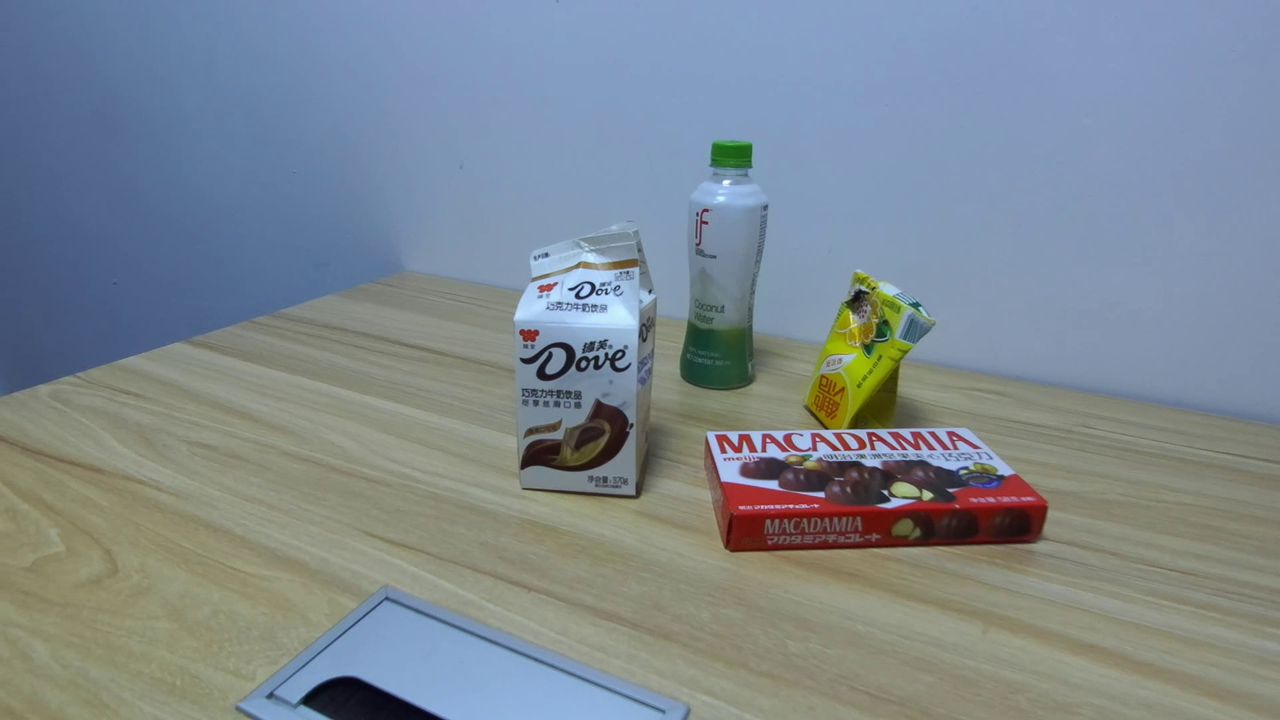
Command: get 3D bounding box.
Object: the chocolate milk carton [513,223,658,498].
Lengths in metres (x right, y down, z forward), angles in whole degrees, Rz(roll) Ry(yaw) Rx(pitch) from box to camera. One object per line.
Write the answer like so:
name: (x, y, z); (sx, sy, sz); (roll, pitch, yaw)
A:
chocolate milk carton: (-0.030, -0.004, 0.429); (0.076, 0.155, 0.073); (3, 21, 7)

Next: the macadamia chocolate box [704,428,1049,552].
macadamia chocolate box: (0.132, 0.074, 0.422); (0.178, 0.027, 0.095); (0, 22, -4)

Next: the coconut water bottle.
coconut water bottle: (0.067, -0.073, 0.558); (0.063, 0.188, 0.063); (1, 20, 0)

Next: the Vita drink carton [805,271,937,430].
Vita drink carton: (0.164, -0.001, 0.503); (0.042, 0.108, 0.086); (10, 22, -18)
